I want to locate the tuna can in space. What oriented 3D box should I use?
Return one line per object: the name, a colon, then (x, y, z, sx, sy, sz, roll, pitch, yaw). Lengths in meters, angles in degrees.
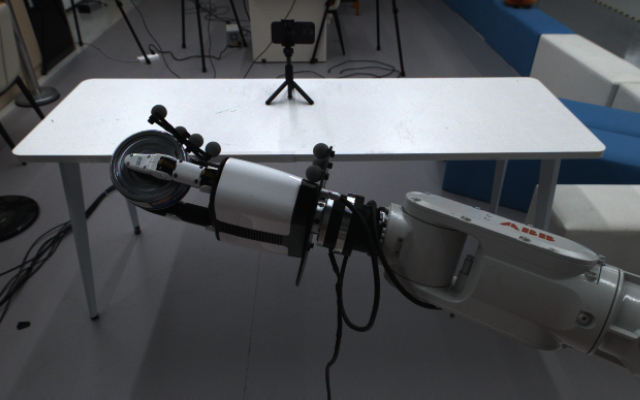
tuna can: (-0.185, -0.034, 0.542, 0.085, 0.034, 0.085, 0, 74, -1)
